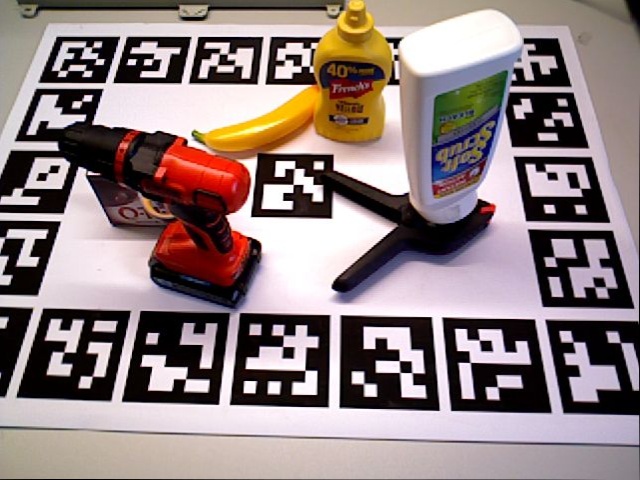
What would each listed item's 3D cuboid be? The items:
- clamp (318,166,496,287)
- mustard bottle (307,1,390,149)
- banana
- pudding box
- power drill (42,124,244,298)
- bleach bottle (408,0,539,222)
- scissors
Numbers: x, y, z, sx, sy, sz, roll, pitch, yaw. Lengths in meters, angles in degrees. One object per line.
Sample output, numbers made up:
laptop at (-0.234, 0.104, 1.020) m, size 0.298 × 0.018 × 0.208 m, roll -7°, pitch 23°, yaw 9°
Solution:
clamp at (0.102, -0.029, 0.621) m, size 0.201 × 0.037 × 0.163 m, roll -4°, pitch 62°, yaw -3°
mustard bottle at (0.034, -0.194, 0.650) m, size 0.096 × 0.195 × 0.057 m, roll 14°, pitch 59°, yaw 7°
banana at (-0.074, -0.174, 0.718) m, size 0.194 × 0.039 × 0.074 m, roll -34°, pitch 48°, yaw -17°
pudding box at (-0.211, -0.058, 0.631) m, size 0.113 × 0.092 × 0.038 m, roll 5°, pitch 52°, yaw 3°
power drill at (-0.154, -0.026, 0.521) m, size 0.184 × 0.191 × 0.056 m, roll 12°, pitch 53°, yaw 11°
bleach bottle at (0.138, -0.098, 0.536) m, size 0.102 × 0.254 × 0.067 m, roll -18°, pitch 56°, yaw -2°
scissors at (-0.219, -0.099, 0.579) m, size 0.202 × 0.016 × 0.086 m, roll 25°, pitch 68°, yaw 10°
